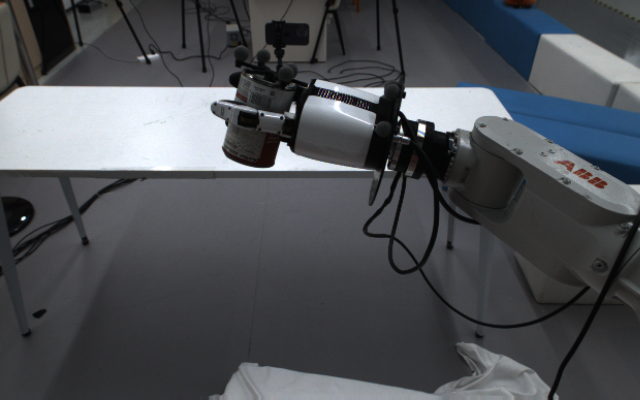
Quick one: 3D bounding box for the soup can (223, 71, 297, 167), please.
[{"bbox_3d":[-0.073,-0.098,0.584,0.067,0.101,0.067,17,21,-7],"label":"soup can"}]
